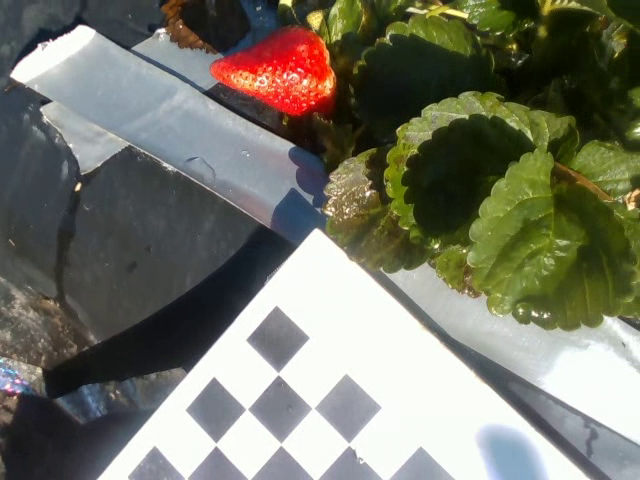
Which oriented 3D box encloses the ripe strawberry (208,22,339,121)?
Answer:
[{"bbox_3d":[-0.028,-0.086,0.354,0.065,0.062,0.057,-13,-4,-31],"label":"ripe strawberry"}]
